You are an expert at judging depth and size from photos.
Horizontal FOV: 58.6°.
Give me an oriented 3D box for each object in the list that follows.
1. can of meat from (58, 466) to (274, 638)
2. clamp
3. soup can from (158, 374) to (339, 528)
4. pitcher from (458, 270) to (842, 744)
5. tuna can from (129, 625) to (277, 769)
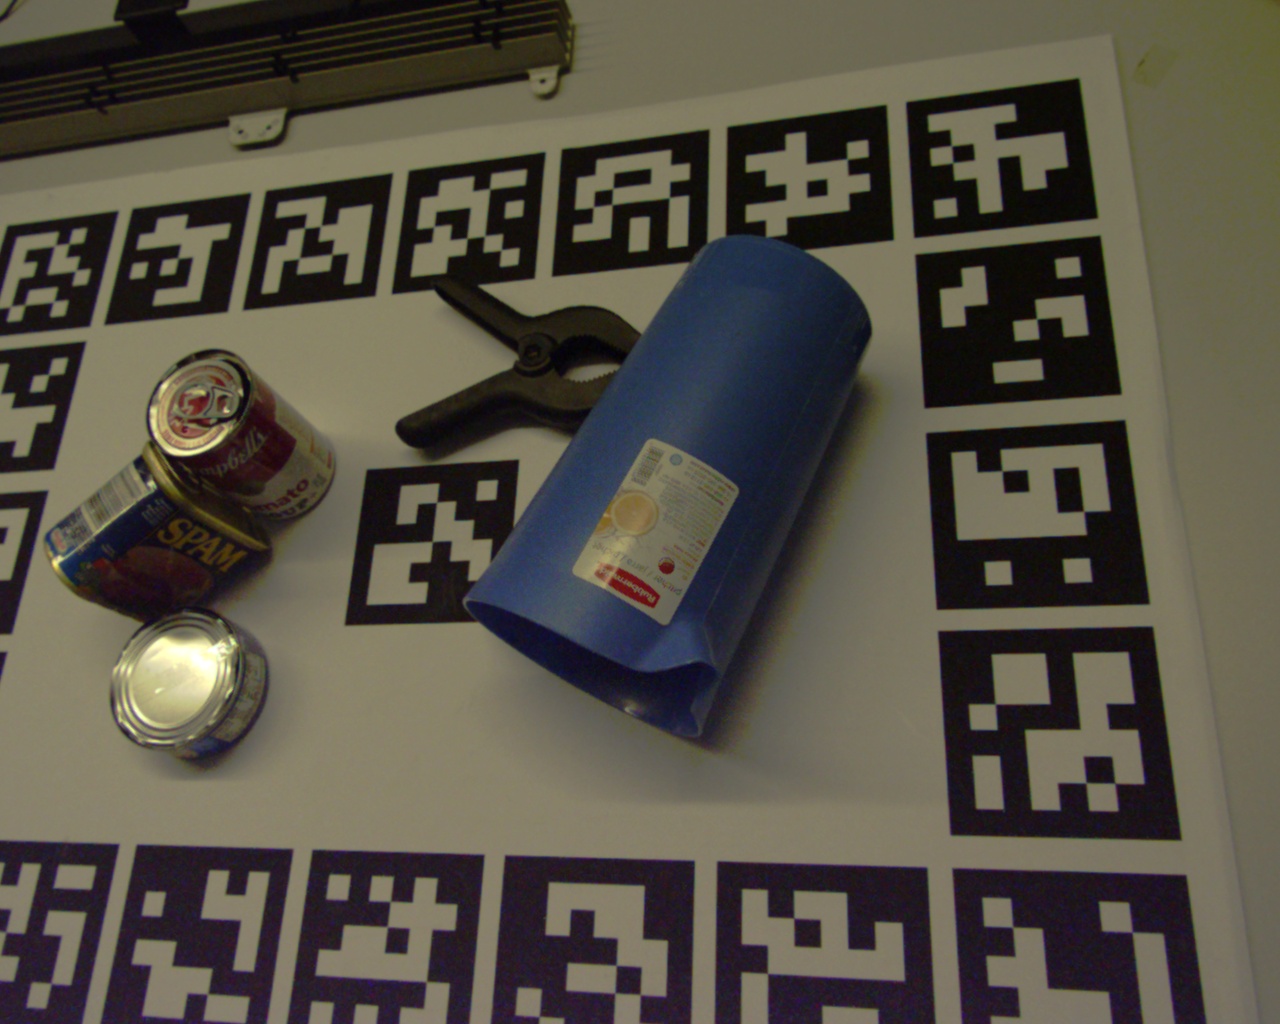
[{"bbox_3d":[-0.296,0.029,0.714,0.084,0.101,0.058,-38,66,2],"label":"can of meat"},{"bbox_3d":[-0.084,-0.085,0.750,0.166,0.036,0.122,0,65,12],"label":"clamp"},{"bbox_3d":[-0.248,-0.036,0.732,0.068,0.101,0.068,-6,69,15],"label":"soup can"},{"bbox_3d":[0.008,-0.009,0.627,0.191,0.131,0.242,10,63,42],"label":"pitcher"},{"bbox_3d":[-0.272,0.116,0.713,0.086,0.033,0.086,-5,70,14],"label":"tuna can"}]
